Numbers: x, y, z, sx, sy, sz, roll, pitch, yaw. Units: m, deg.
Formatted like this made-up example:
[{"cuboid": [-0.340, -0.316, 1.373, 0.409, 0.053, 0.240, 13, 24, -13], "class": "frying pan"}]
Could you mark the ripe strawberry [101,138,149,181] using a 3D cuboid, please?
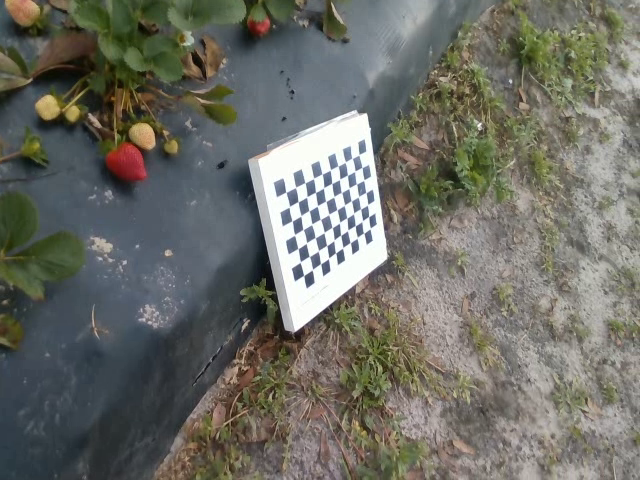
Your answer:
[{"cuboid": [-0.228, -0.091, 0.717, 0.050, 0.059, 0.034, -44, -11, -38], "class": "ripe strawberry"}]
